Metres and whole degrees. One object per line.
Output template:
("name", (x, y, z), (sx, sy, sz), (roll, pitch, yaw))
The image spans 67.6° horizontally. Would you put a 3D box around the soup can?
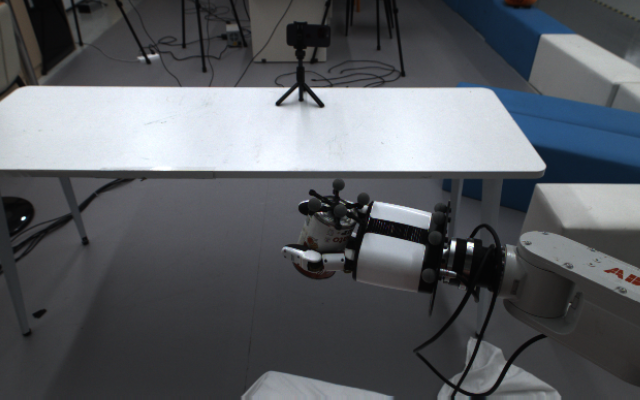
("soup can", (0.007, 0.052, 0.675), (0.067, 0.101, 0.067), (14, 35, -10))
